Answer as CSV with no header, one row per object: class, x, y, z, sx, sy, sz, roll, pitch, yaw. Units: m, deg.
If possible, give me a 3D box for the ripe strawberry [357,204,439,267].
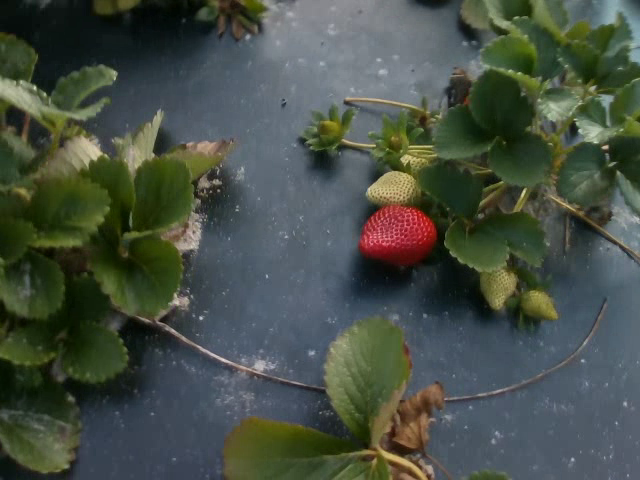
ripe strawberry,0.041,-0.003,0.411,0.055,0.048,0.051,-10,18,-42
